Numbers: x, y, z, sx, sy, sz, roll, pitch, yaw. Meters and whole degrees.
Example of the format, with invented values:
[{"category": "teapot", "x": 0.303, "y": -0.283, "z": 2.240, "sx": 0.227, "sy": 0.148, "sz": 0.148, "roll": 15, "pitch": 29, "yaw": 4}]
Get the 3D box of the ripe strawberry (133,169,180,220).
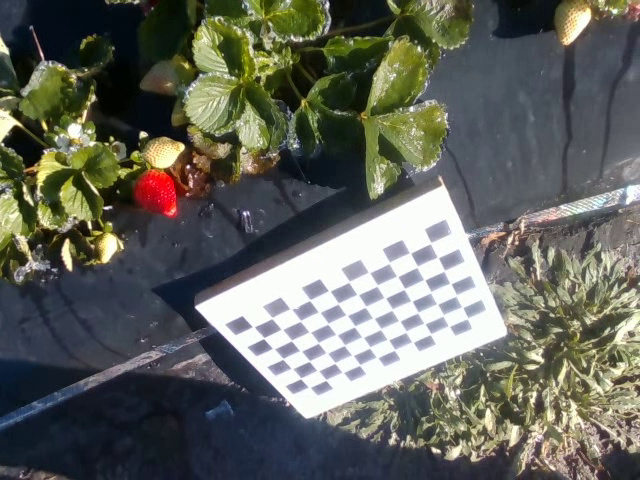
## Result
[{"category": "ripe strawberry", "x": -0.135, "y": -0.036, "z": 0.541, "sx": 0.042, "sy": 0.040, "sz": 0.053, "roll": -5, "pitch": 44, "yaw": -47}]
